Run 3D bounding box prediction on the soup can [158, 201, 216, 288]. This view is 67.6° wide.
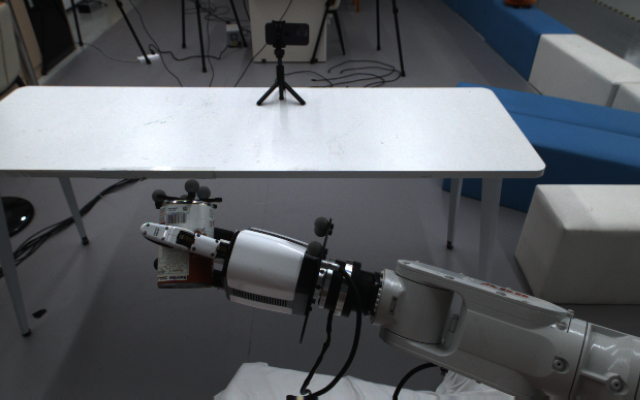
[{"bbox_3d":[-0.163,0.058,0.597,0.067,0.067,0.101,-1,77,-5],"label":"soup can"}]
